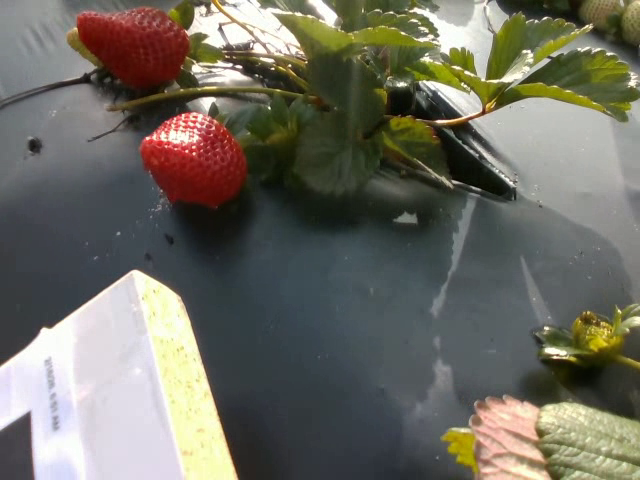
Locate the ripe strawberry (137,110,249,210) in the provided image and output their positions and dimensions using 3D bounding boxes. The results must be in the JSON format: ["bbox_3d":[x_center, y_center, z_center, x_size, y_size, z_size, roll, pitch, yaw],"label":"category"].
[{"bbox_3d":[-0.039,-0.027,0.172,0.037,0.034,0.039,-32,-22,26],"label":"ripe strawberry"}]

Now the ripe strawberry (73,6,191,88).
[{"bbox_3d":[-0.066,-0.074,0.215,0.036,0.041,0.035,11,22,-38],"label":"ripe strawberry"}]
